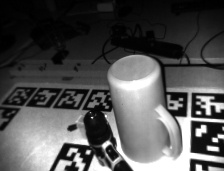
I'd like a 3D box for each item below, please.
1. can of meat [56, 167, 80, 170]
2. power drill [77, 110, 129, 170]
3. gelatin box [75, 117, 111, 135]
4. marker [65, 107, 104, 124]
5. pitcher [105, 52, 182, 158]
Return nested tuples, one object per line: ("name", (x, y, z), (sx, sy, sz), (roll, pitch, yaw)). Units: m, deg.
("can of meat", (-0.067, 0.215, 0.459), (0.101, 0.084, 0.058), (0, 41, 17))
("power drill", (0.003, 0.138, 0.454), (0.057, 0.186, 0.184), (-39, 51, -21))
("gelatin box", (-0.052, 0.112, 0.587), (0.088, 0.074, 0.030), (10, 50, 24))
("marker", (-0.085, 0.092, 0.656), (0.121, 0.020, 0.019), (-18, 41, -2))
("pitcher", (0.069, 0.052, 0.496), (0.134, 0.245, 0.186), (-41, 40, -22))
